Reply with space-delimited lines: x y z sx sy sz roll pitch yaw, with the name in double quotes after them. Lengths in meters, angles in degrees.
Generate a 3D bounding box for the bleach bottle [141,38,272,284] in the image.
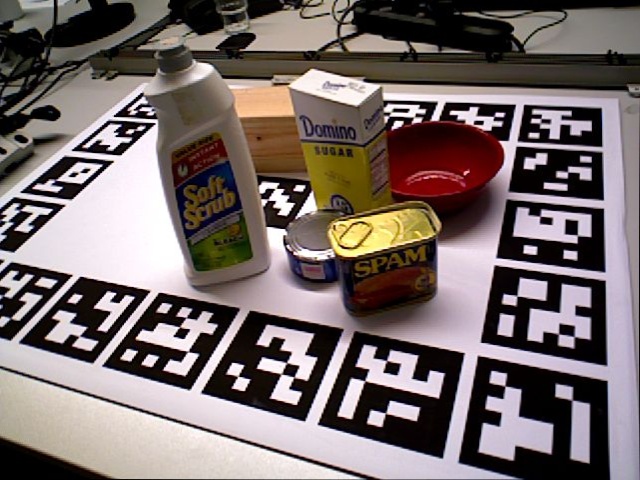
-0.117 -0.072 0.526 0.102 0.255 0.067 -10 39 1 "bleach bottle"

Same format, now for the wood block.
-0.087 -0.153 0.741 0.207 0.091 0.089 1 46 14 "wood block"

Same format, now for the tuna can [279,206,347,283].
-0.002 0.004 0.575 0.086 0.034 0.084 -8 43 7 "tuna can"

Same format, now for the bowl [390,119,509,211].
0.140 -0.082 0.627 0.162 0.056 0.159 -10 38 7 "bowl"

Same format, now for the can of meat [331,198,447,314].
0.066 0.017 0.515 0.101 0.085 0.057 -12 37 -3 "can of meat"

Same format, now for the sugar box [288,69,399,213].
0.030 -0.087 0.560 0.093 0.179 0.044 23 52 38 "sugar box"
